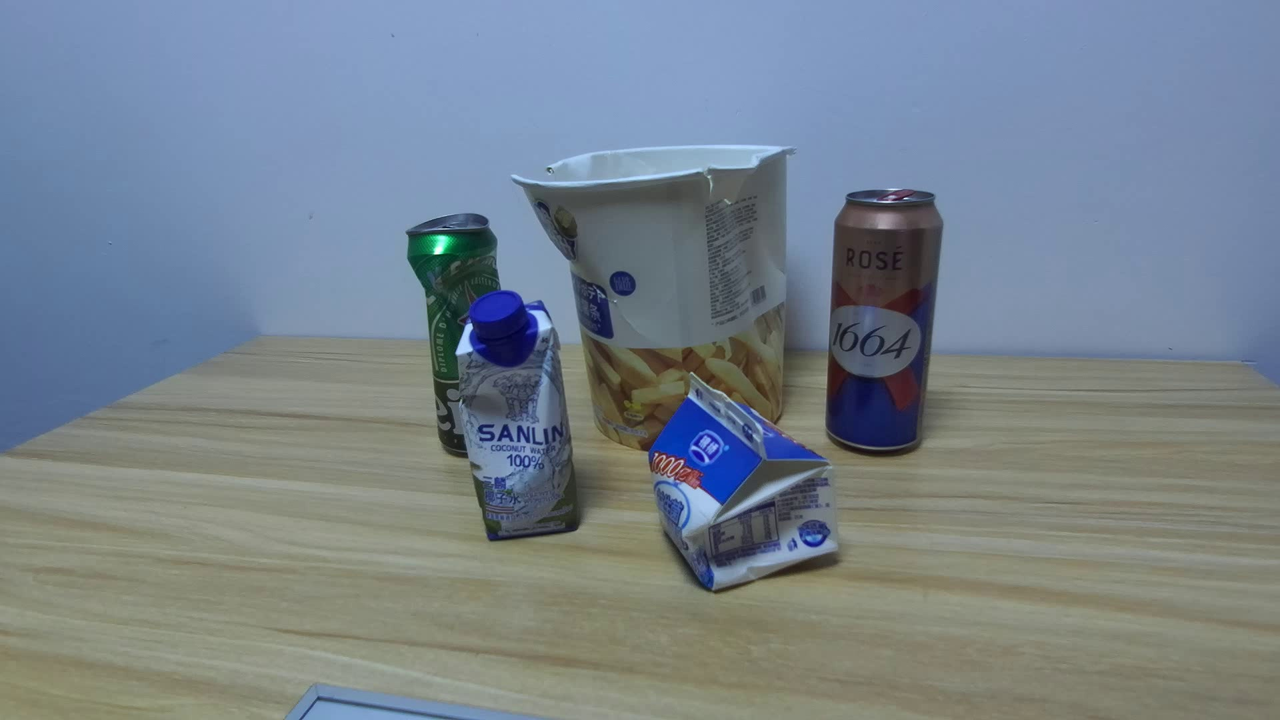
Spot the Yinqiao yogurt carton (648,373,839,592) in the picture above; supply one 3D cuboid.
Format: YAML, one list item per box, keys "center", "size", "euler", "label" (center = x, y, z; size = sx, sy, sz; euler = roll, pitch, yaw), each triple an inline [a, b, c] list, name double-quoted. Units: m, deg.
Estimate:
- center: [0.047, 0.060, 0.366]
  size: [0.080, 0.097, 0.074]
  euler: [-19, 24, -17]
  label: "Yinqiao yogurt carton"

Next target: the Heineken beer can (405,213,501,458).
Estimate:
- center: [-0.120, -0.017, 0.505]
  size: [0.078, 0.164, 0.065]
  euler: [-23, 25, -38]
  label: "Heineken beer can"

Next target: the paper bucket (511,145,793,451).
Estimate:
- center: [0.027, -0.051, 0.516]
  size: [0.145, 0.197, 0.203]
  euler: [4, 22, 23]
  label: "paper bucket"

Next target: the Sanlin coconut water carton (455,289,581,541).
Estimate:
- center: [-0.071, 0.028, 0.404]
  size: [0.061, 0.144, 0.069]
  euler: [-6, 22, -4]
  label: "Sanlin coconut water carton"
